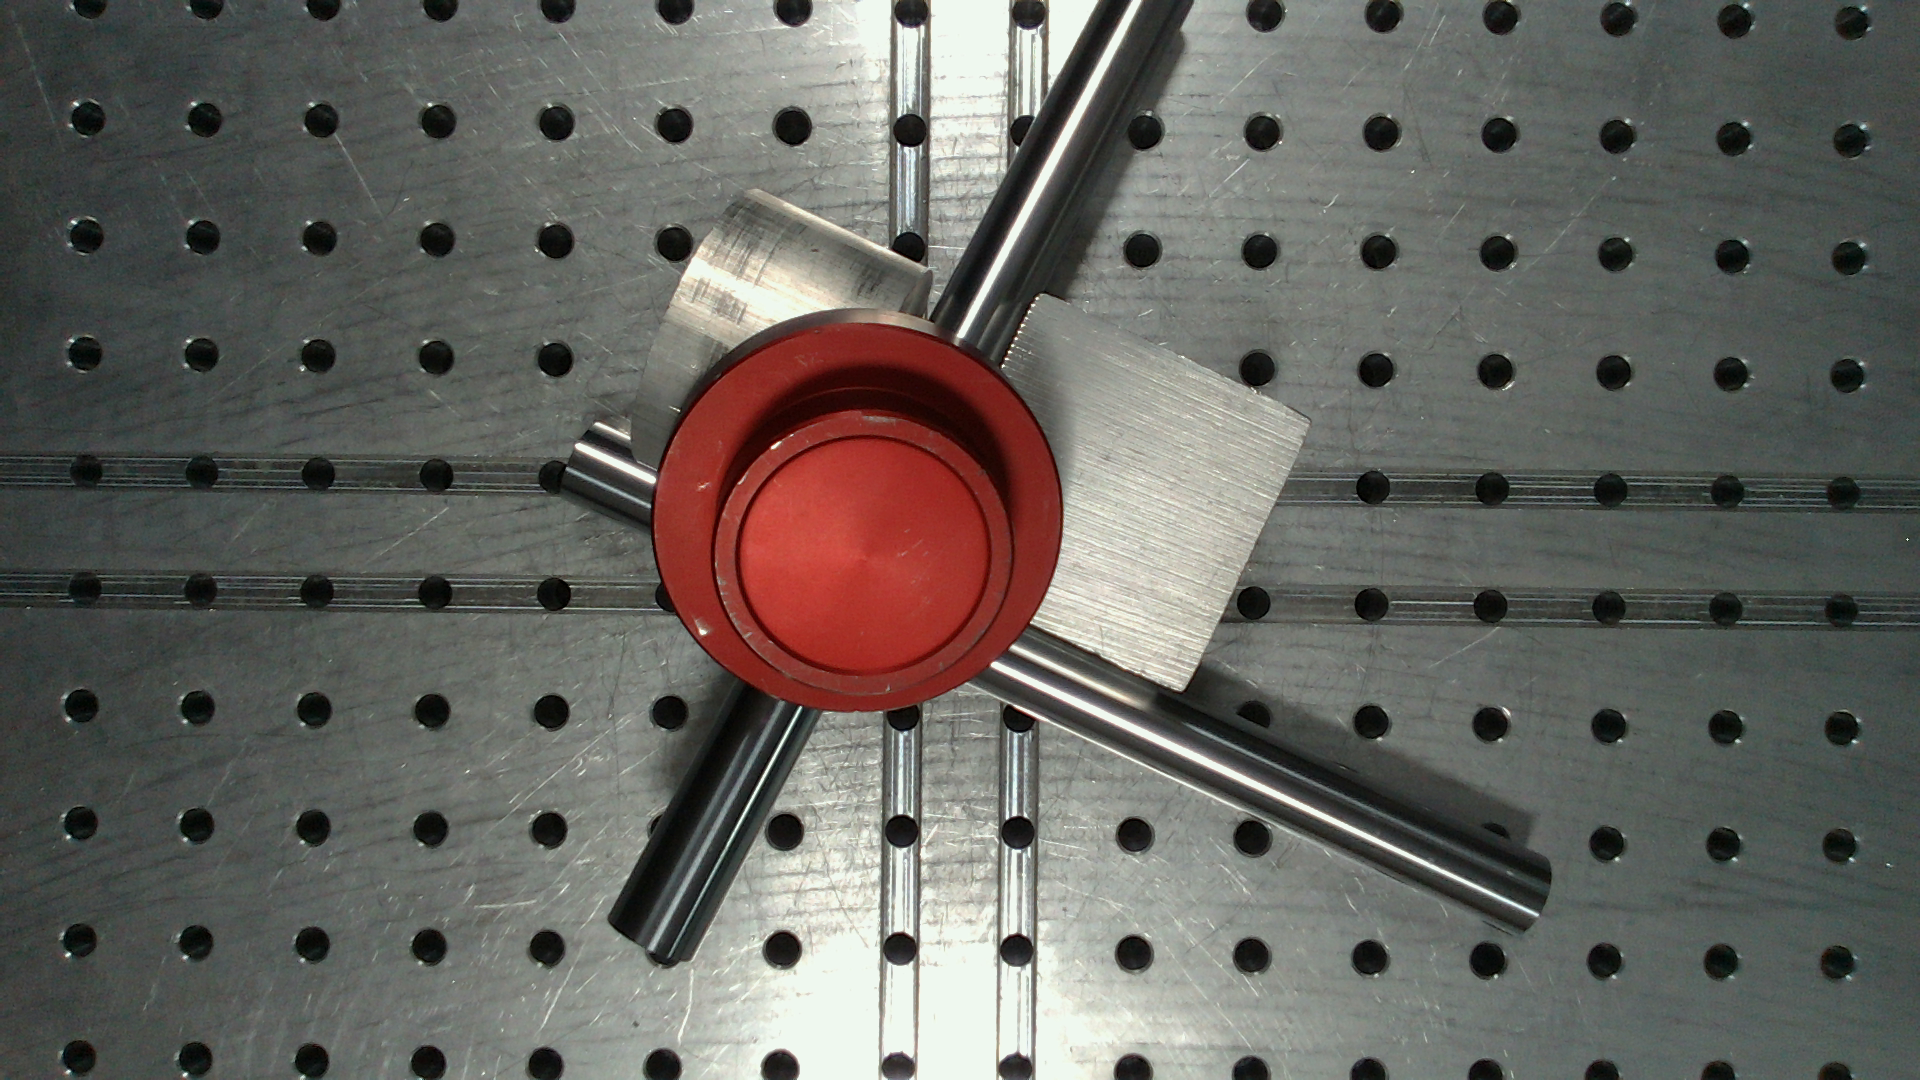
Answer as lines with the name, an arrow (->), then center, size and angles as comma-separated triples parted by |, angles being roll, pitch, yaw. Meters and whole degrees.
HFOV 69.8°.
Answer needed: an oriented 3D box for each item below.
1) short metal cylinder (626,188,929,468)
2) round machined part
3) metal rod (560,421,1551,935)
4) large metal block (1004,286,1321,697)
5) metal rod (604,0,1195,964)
short metal cylinder -> -0.047, -0.047, 0.369 | 0.050, 0.080, 0.080 | 25, 90, 0
round machined part -> -0.023, -0.002, 0.324 | 0.098, 0.042, 0.098 | -2, 110, -6
metal rod -> 0.027, 0.040, 0.397 | 0.300, 0.025, 0.025 | 25, 90, 0
large metal block -> 0.041, -0.013, 0.382 | 0.080, 0.050, 0.080 | 26, 90, 0
metal rod -> -0.013, -0.027, 0.378 | 0.025, 0.025, 0.300 | 28, 83, 0
